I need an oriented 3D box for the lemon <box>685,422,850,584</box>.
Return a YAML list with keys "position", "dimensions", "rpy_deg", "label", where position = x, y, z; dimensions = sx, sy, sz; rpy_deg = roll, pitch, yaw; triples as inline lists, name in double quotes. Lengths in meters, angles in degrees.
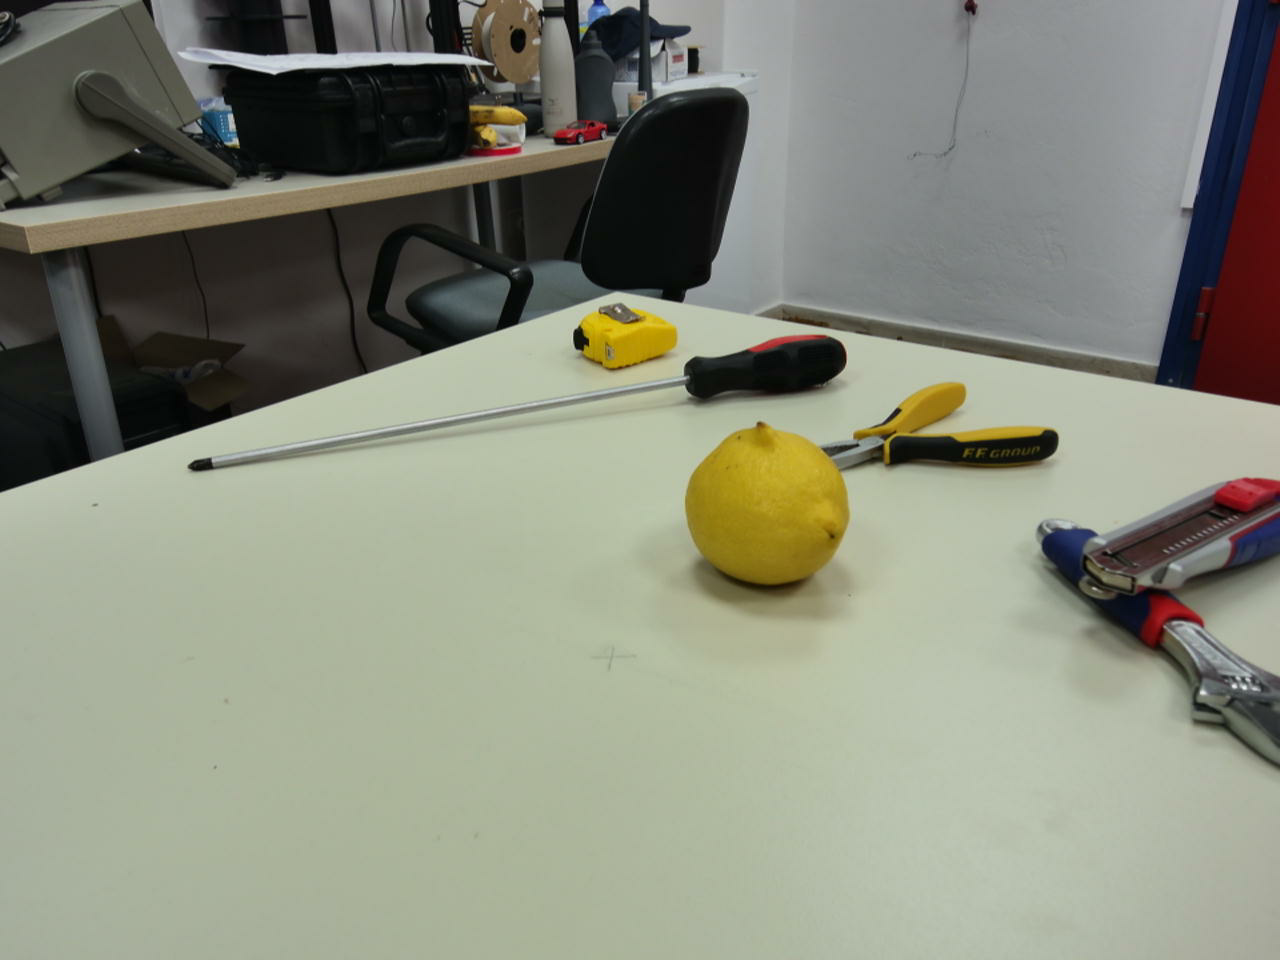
- position: [0.055, 0.008, 0.435]
  dimensions: [0.070, 0.071, 0.071]
  rpy_deg: [2, 23, 4]
  label: "lemon"
